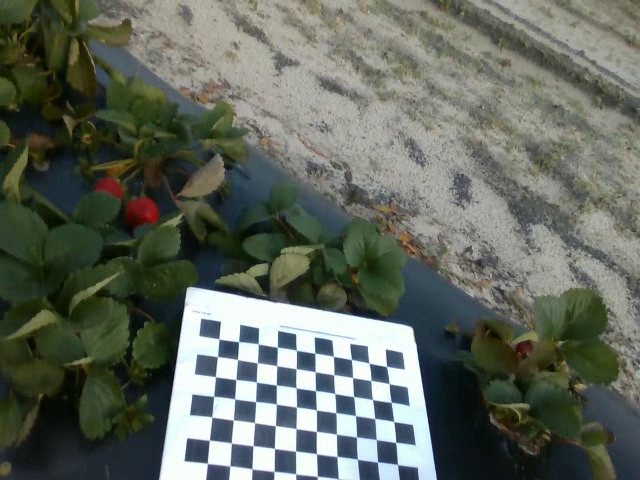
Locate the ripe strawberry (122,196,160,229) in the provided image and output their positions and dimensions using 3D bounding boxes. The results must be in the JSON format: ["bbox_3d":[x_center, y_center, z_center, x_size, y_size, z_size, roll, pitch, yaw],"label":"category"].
[{"bbox_3d":[-0.262,-0.043,0.892,0.057,0.051,0.064,-3,18,-29],"label":"ripe strawberry"}]

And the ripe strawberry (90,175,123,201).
[{"bbox_3d":[-0.318,-0.069,0.898,0.048,0.041,0.056,23,20,-4],"label":"ripe strawberry"}]
